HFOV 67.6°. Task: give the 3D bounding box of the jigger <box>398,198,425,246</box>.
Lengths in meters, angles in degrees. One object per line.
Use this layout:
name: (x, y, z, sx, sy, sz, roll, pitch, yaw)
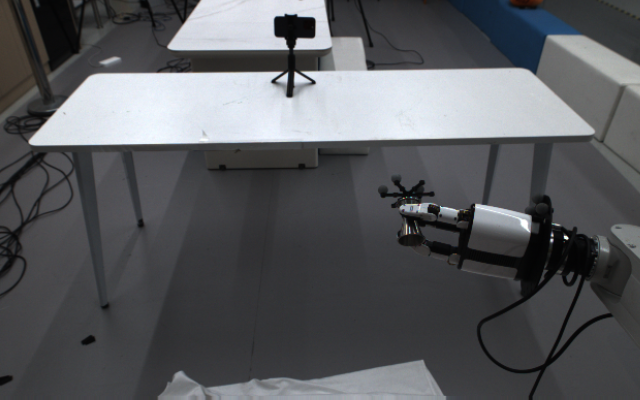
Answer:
jigger: (0.143, 0.030, 0.772, 0.043, 0.043, 0.071, 2, 59, -1)
